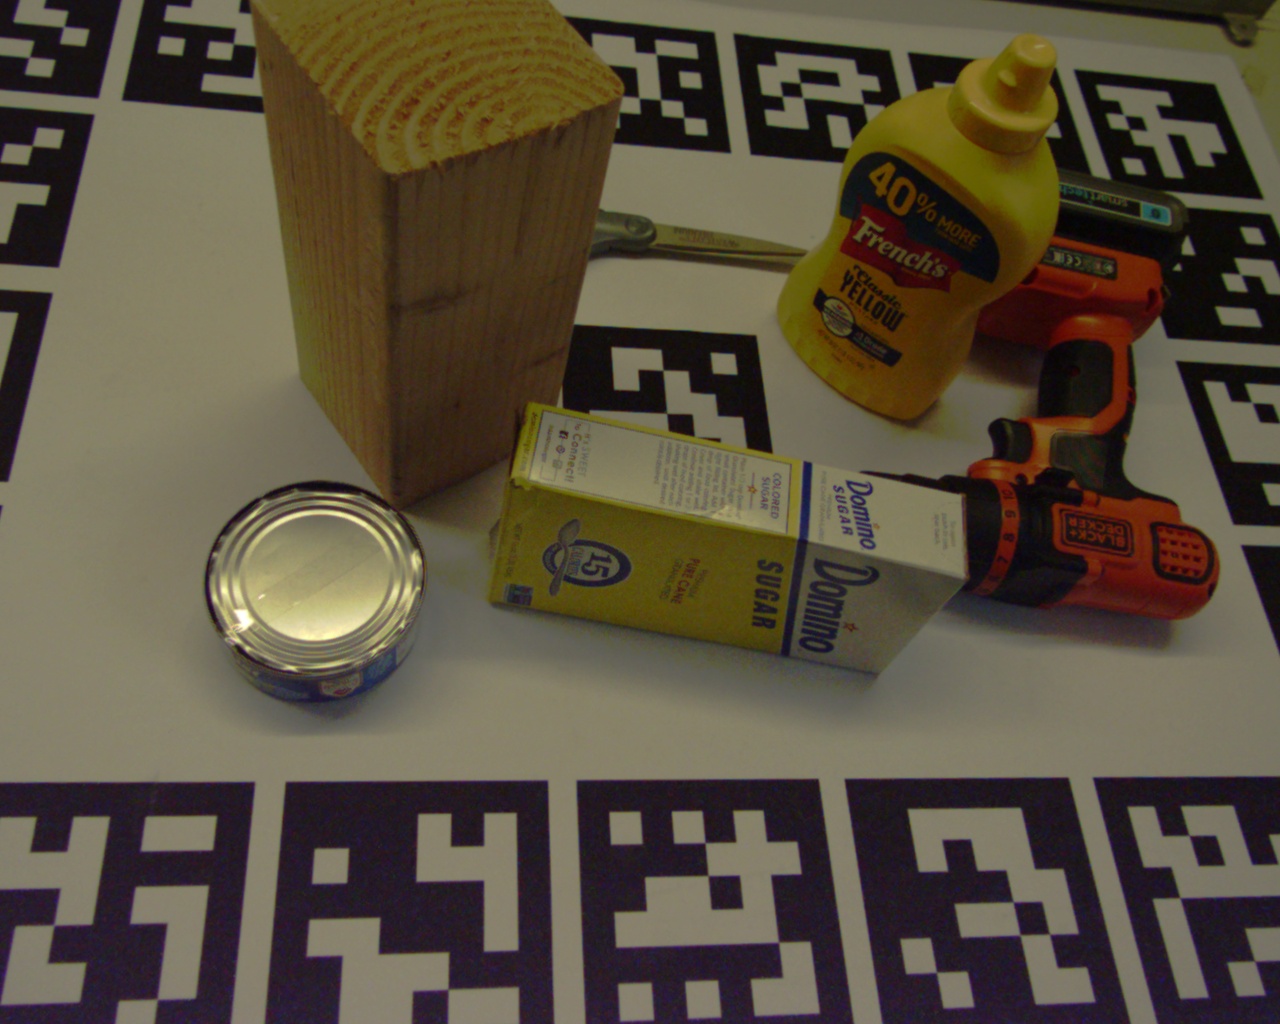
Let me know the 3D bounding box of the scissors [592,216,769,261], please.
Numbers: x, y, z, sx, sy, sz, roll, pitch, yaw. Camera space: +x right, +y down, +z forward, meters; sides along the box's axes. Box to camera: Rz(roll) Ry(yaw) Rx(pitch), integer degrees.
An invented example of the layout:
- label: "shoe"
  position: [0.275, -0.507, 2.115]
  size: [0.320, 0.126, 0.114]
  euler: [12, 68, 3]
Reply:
- label: "scissors"
  position: [-0.028, -0.147, 0.615]
  size: [0.202, 0.016, 0.088]
  euler: [4, 58, -8]

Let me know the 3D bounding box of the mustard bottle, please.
- label: "mustard bottle"
  position: [0.126, -0.123, 0.541]
  size: [0.058, 0.192, 0.097]
  euler: [-38, 76, -25]

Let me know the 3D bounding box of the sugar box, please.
- label: "sugar box"
  position: [0.033, 0.016, 0.500]
  size: [0.176, 0.093, 0.045]
  euler: [13, 58, -5]

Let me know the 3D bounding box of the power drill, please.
- label: "power drill"
  position: [0.165, -0.050, 0.576]
  size: [0.184, 0.057, 0.187]
  euler: [14, 68, -3]

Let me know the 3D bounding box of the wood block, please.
- label: "wood block"
  position: [-0.086, -0.100, 0.483]
  size: [0.090, 0.206, 0.090]
  euler: [-25, 72, -22]

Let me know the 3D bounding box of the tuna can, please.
- label: "tuna can"
  position: [-0.134, 0.028, 0.491]
  size: [0.085, 0.034, 0.086]
  euler: [4, 63, -9]
